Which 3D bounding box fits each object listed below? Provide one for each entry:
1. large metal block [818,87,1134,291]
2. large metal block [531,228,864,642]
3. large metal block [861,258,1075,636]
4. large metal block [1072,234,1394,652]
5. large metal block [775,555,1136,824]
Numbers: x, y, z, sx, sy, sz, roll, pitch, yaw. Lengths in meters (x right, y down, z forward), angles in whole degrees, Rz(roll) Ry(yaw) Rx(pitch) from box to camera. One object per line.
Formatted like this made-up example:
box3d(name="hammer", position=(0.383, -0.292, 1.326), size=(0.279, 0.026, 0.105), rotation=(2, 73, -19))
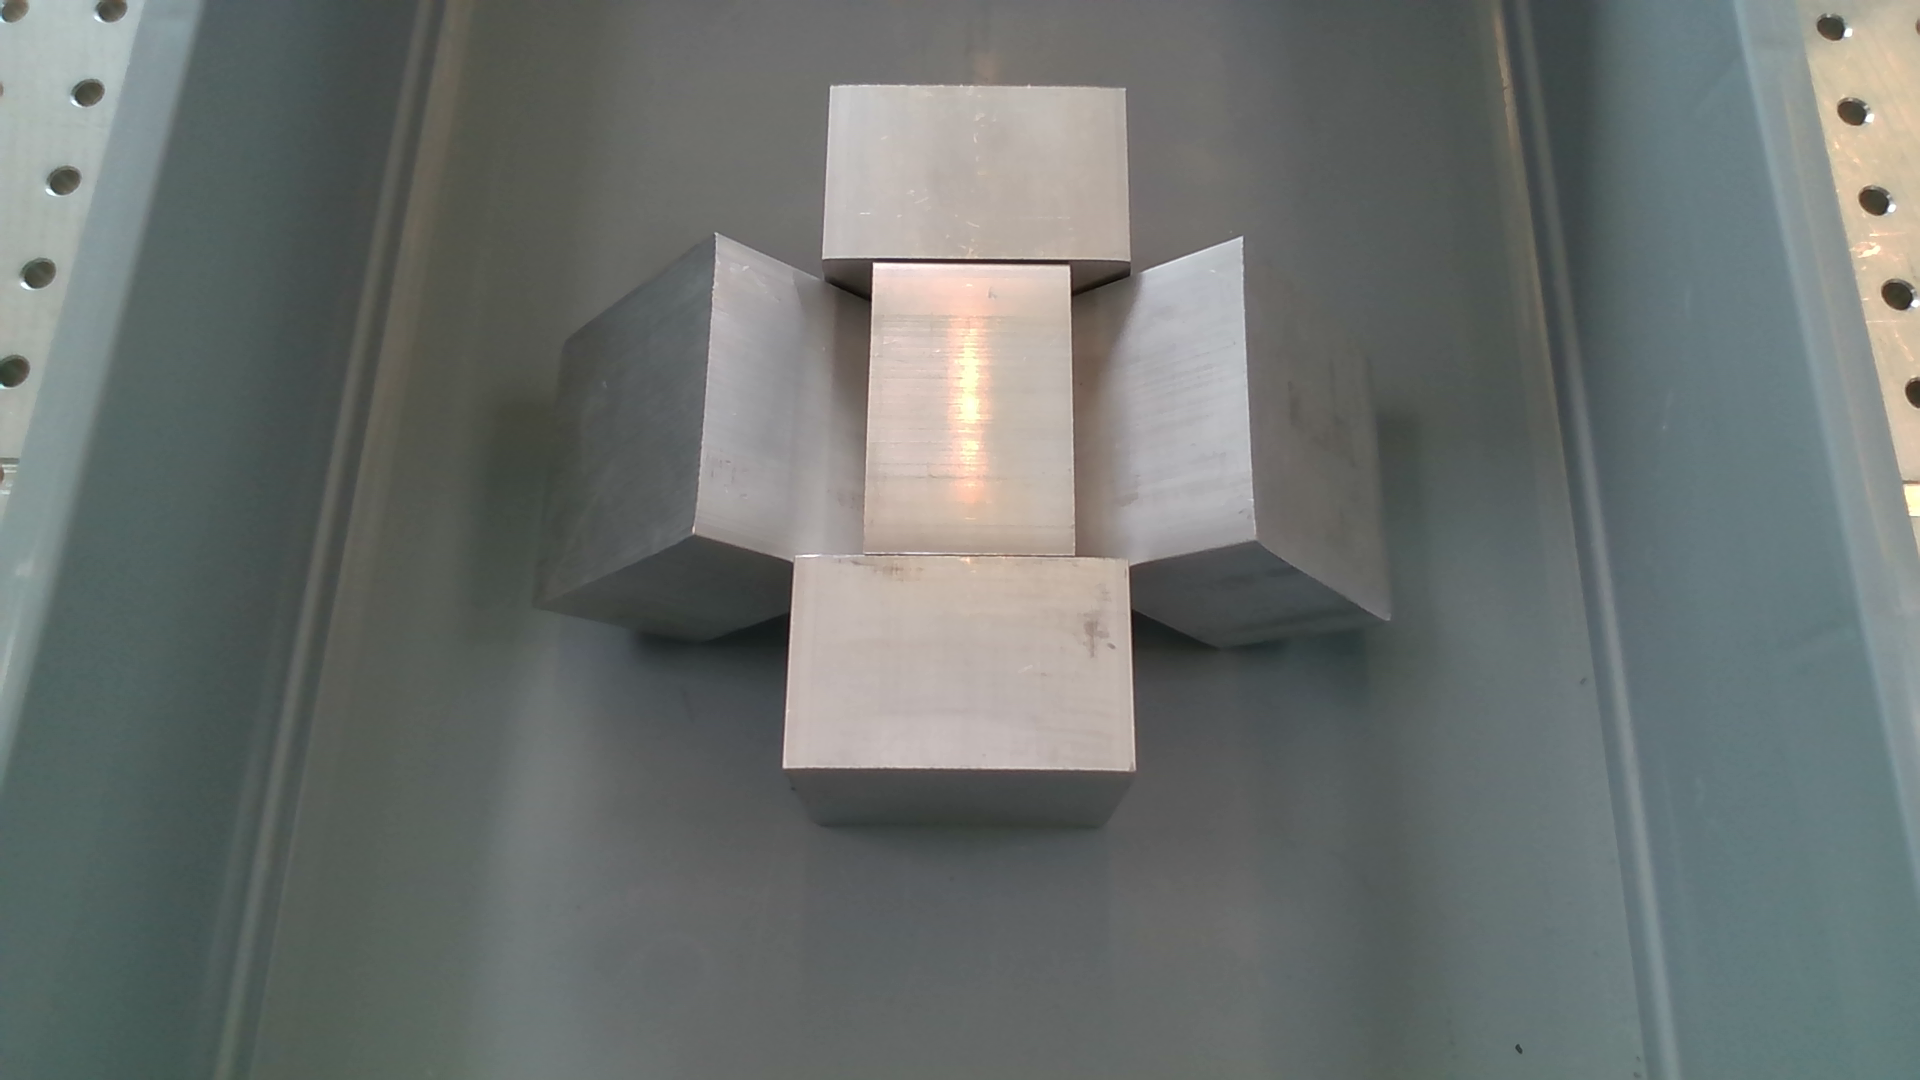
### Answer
box3d(name="large metal block", position=(0.004, -0.083, 0.395), size=(0.080, 0.080, 0.050), rotation=(0, 70, 0))
box3d(name="large metal block", position=(-0.068, -0.023, 0.367), size=(0.050, 0.080, 0.080), rotation=(16, 66, -39))
box3d(name="large metal block", position=(0.002, -0.020, 0.373), size=(0.050, 0.080, 0.080), rotation=(1, 70, 0))
box3d(name="large metal block", position=(0.073, -0.021, 0.367), size=(0.050, 0.080, 0.080), rotation=(-13, 66, 36))
box3d(name="large metal block", position=(-0.001, 0.041, 0.351), size=(0.080, 0.080, 0.050), rotation=(1, 70, 0))
